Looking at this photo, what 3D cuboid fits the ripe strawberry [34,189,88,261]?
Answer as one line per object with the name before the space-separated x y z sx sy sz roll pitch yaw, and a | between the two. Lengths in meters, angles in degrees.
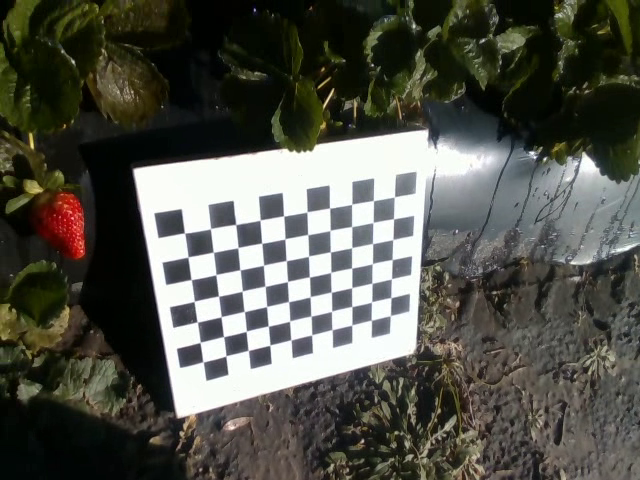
ripe strawberry | -0.215 -0.012 0.495 0.048 0.069 0.040 -27 23 -9
